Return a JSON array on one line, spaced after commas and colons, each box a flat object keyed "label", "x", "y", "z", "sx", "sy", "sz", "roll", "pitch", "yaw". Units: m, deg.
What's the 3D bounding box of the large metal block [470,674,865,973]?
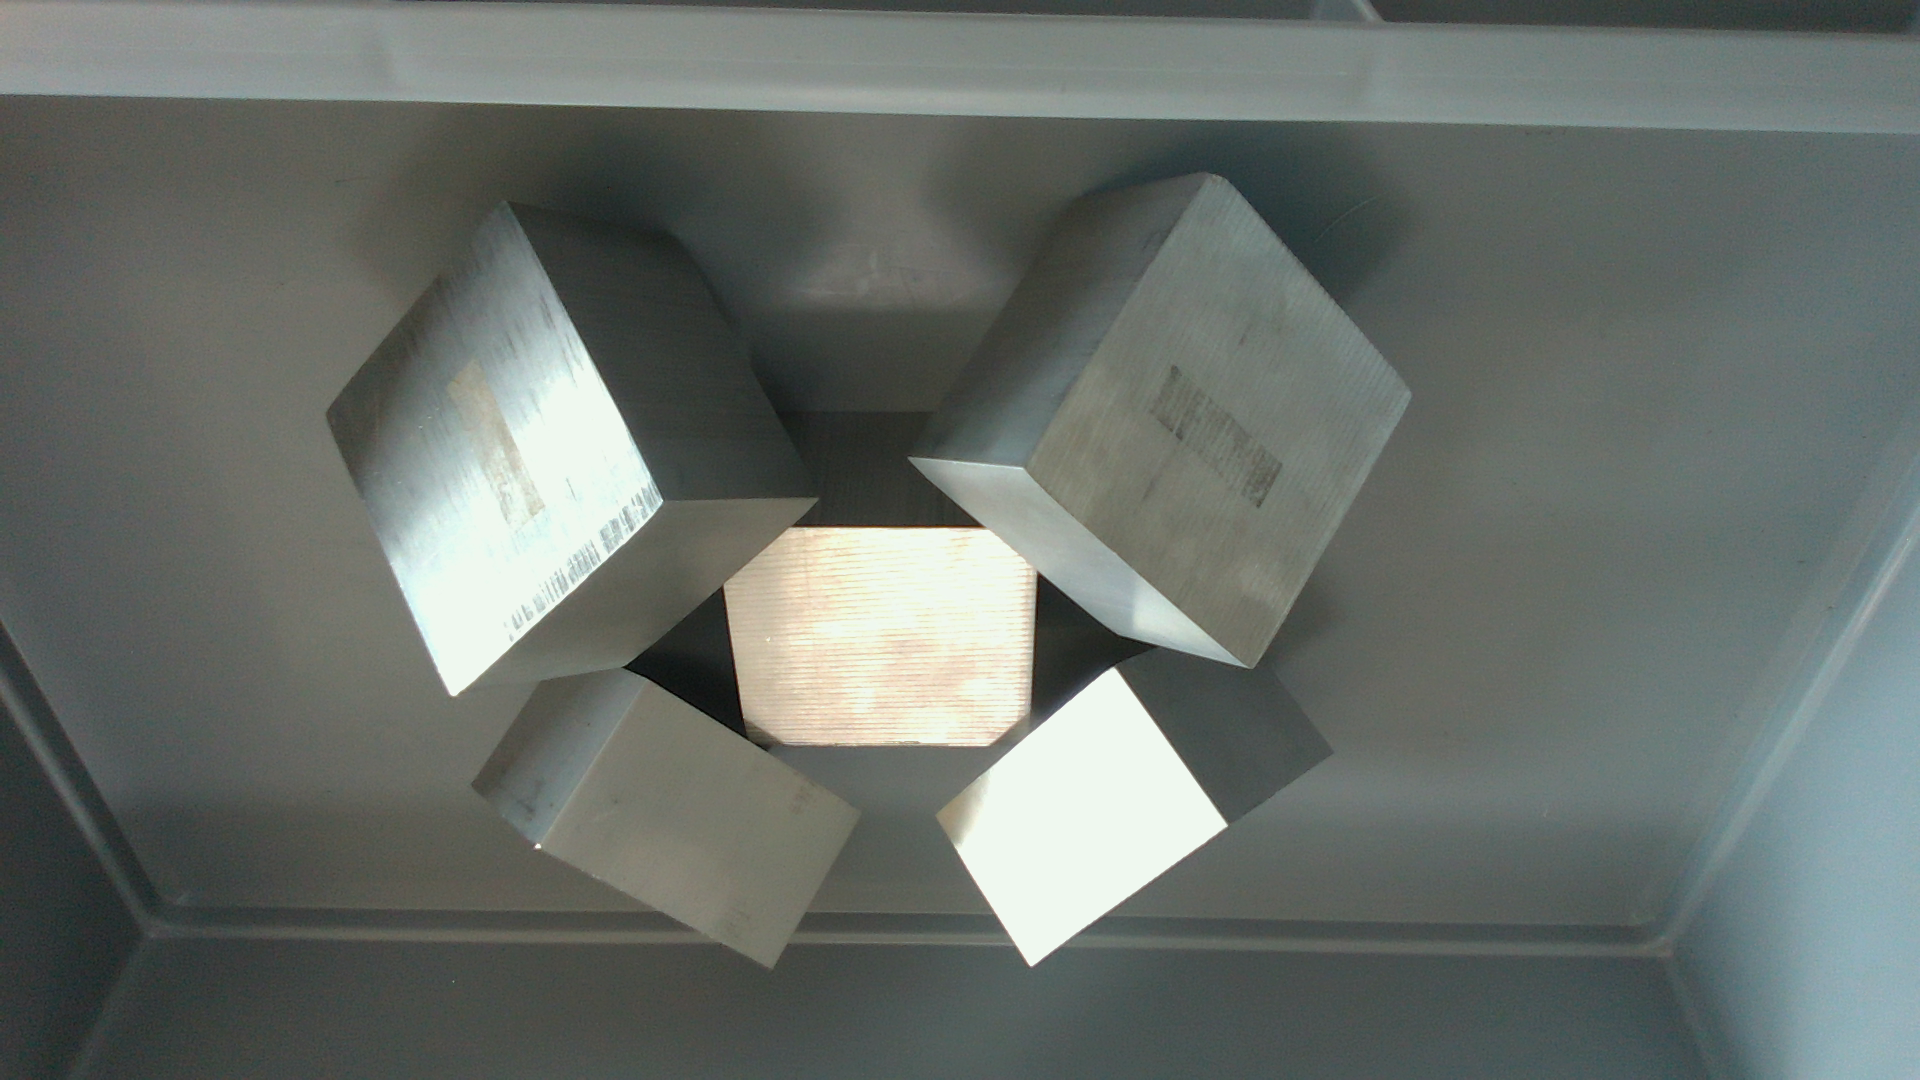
[{"label": "large metal block", "x": -0.089, "y": 0.077, "z": 0.410, "sx": 0.080, "sy": 0.050, "sz": 0.080, "roll": 38, "pitch": 165, "yaw": -28}]

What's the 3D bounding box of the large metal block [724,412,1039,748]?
[{"label": "large metal block", "x": -0.020, "y": 0.012, "z": 0.381, "sx": 0.080, "sy": 0.050, "sz": 0.080, "roll": 0, "pitch": 130, "yaw": -1}]

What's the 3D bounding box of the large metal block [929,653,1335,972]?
[{"label": "large metal block", "x": 0.052, "y": 0.073, "z": 0.406, "sx": 0.080, "sy": 0.050, "sz": 0.080, "roll": -45, "pitch": 162, "yaw": 30}]

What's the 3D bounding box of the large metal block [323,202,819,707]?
[{"label": "large metal block", "x": -0.093, "y": -0.019, "z": 0.326, "sx": 0.080, "sy": 0.080, "sz": 0.050, "roll": -38, "pitch": 164, "yaw": 27}]

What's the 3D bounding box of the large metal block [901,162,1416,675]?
[{"label": "large metal block", "x": 0.048, "y": -0.027, "z": 0.323, "sx": 0.080, "sy": 0.050, "sz": 0.080, "roll": 39, "pitch": 77, "yaw": -28}]
